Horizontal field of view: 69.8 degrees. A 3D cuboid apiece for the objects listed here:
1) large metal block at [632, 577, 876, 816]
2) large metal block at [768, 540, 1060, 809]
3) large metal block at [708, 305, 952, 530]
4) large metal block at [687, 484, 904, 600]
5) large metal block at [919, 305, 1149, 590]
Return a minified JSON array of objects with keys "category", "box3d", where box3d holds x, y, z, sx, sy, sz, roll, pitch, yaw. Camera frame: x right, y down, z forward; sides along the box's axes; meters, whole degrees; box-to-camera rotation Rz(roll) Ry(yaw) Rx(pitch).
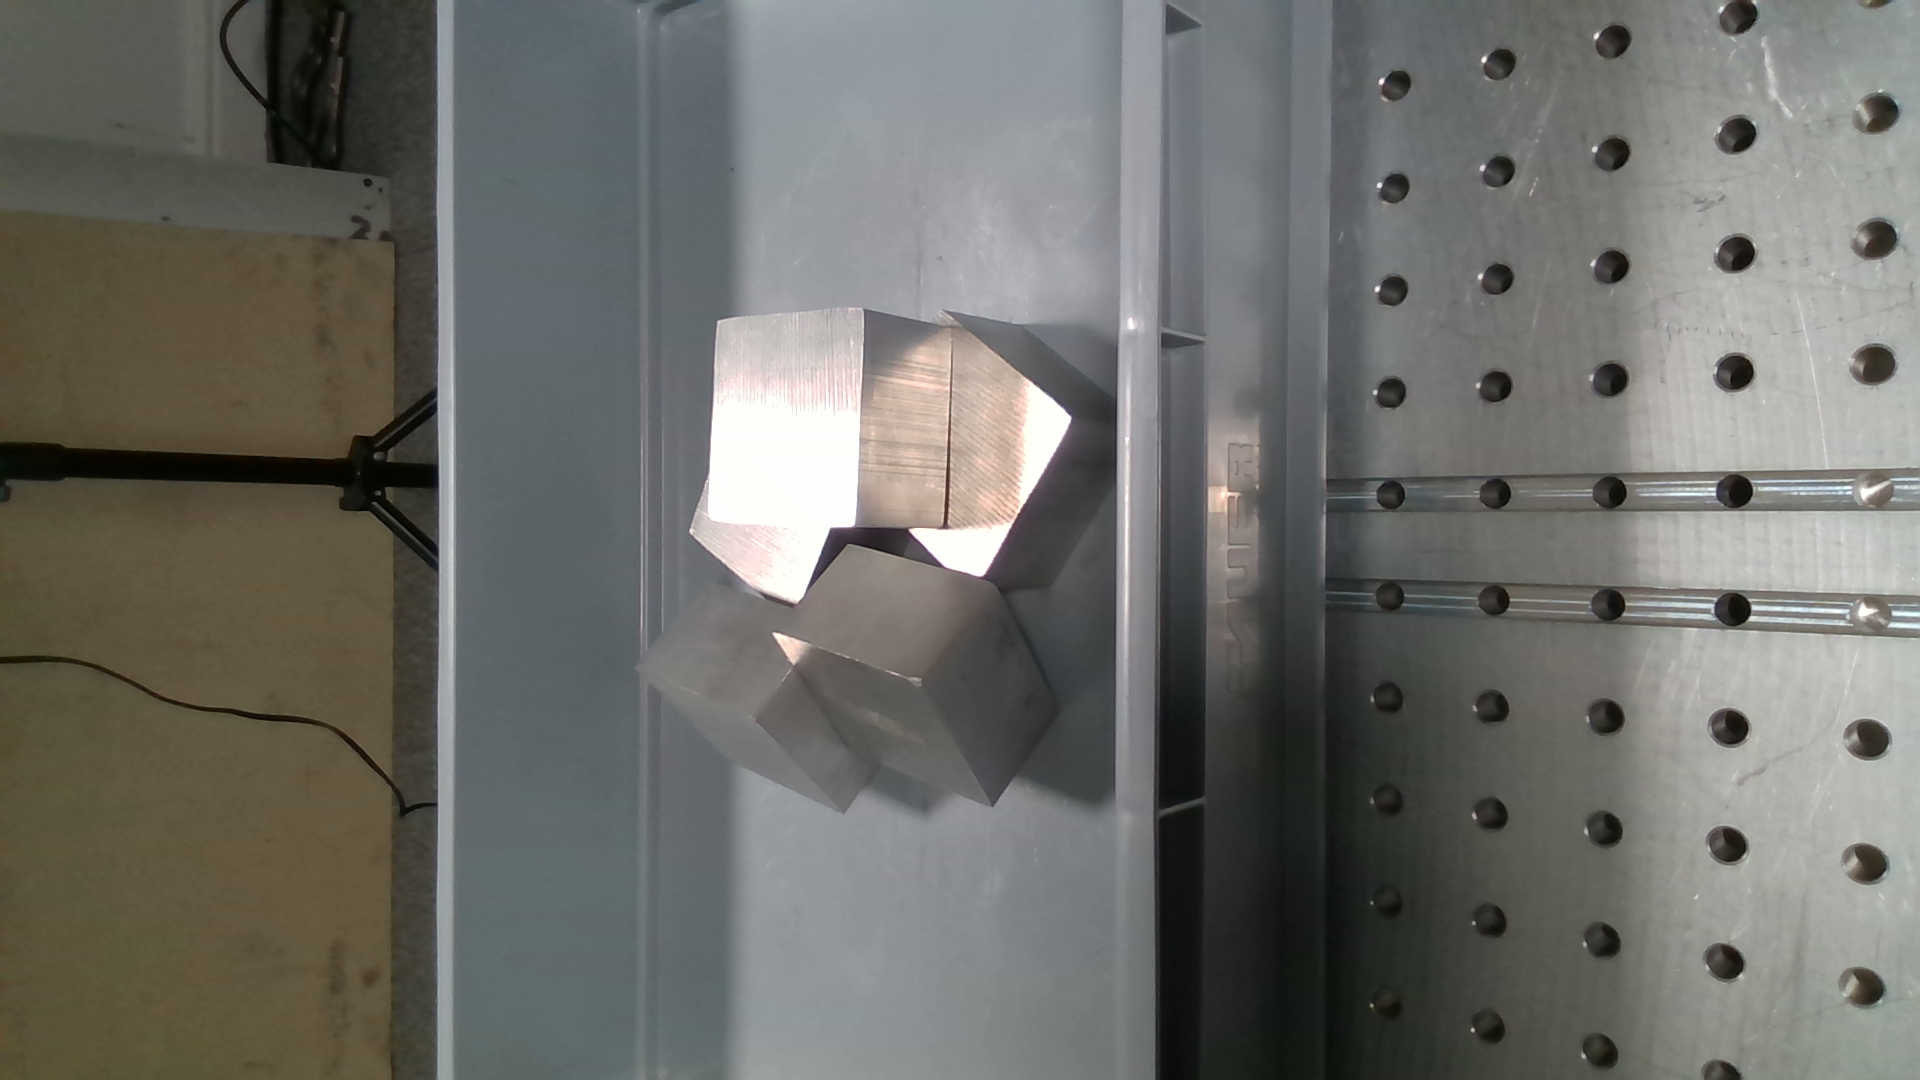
[{"category":"large metal block","box3d":[-0.083,0.068,0.606,0.080,0.080,0.050,15,61,39]},{"category":"large metal block","box3d":[-0.017,0.053,0.552,0.080,0.050,0.080,15,145,39]},{"category":"large metal block","box3d":[-0.052,-0.046,0.540,0.080,0.050,0.080,3,91,39]},{"category":"large metal block","box3d":[-0.068,-0.020,0.618,0.080,0.050,0.080,37,113,34]},{"category":"large metal block","box3d":[0.015,-0.036,0.552,0.080,0.050,0.080,43,117,31]}]
